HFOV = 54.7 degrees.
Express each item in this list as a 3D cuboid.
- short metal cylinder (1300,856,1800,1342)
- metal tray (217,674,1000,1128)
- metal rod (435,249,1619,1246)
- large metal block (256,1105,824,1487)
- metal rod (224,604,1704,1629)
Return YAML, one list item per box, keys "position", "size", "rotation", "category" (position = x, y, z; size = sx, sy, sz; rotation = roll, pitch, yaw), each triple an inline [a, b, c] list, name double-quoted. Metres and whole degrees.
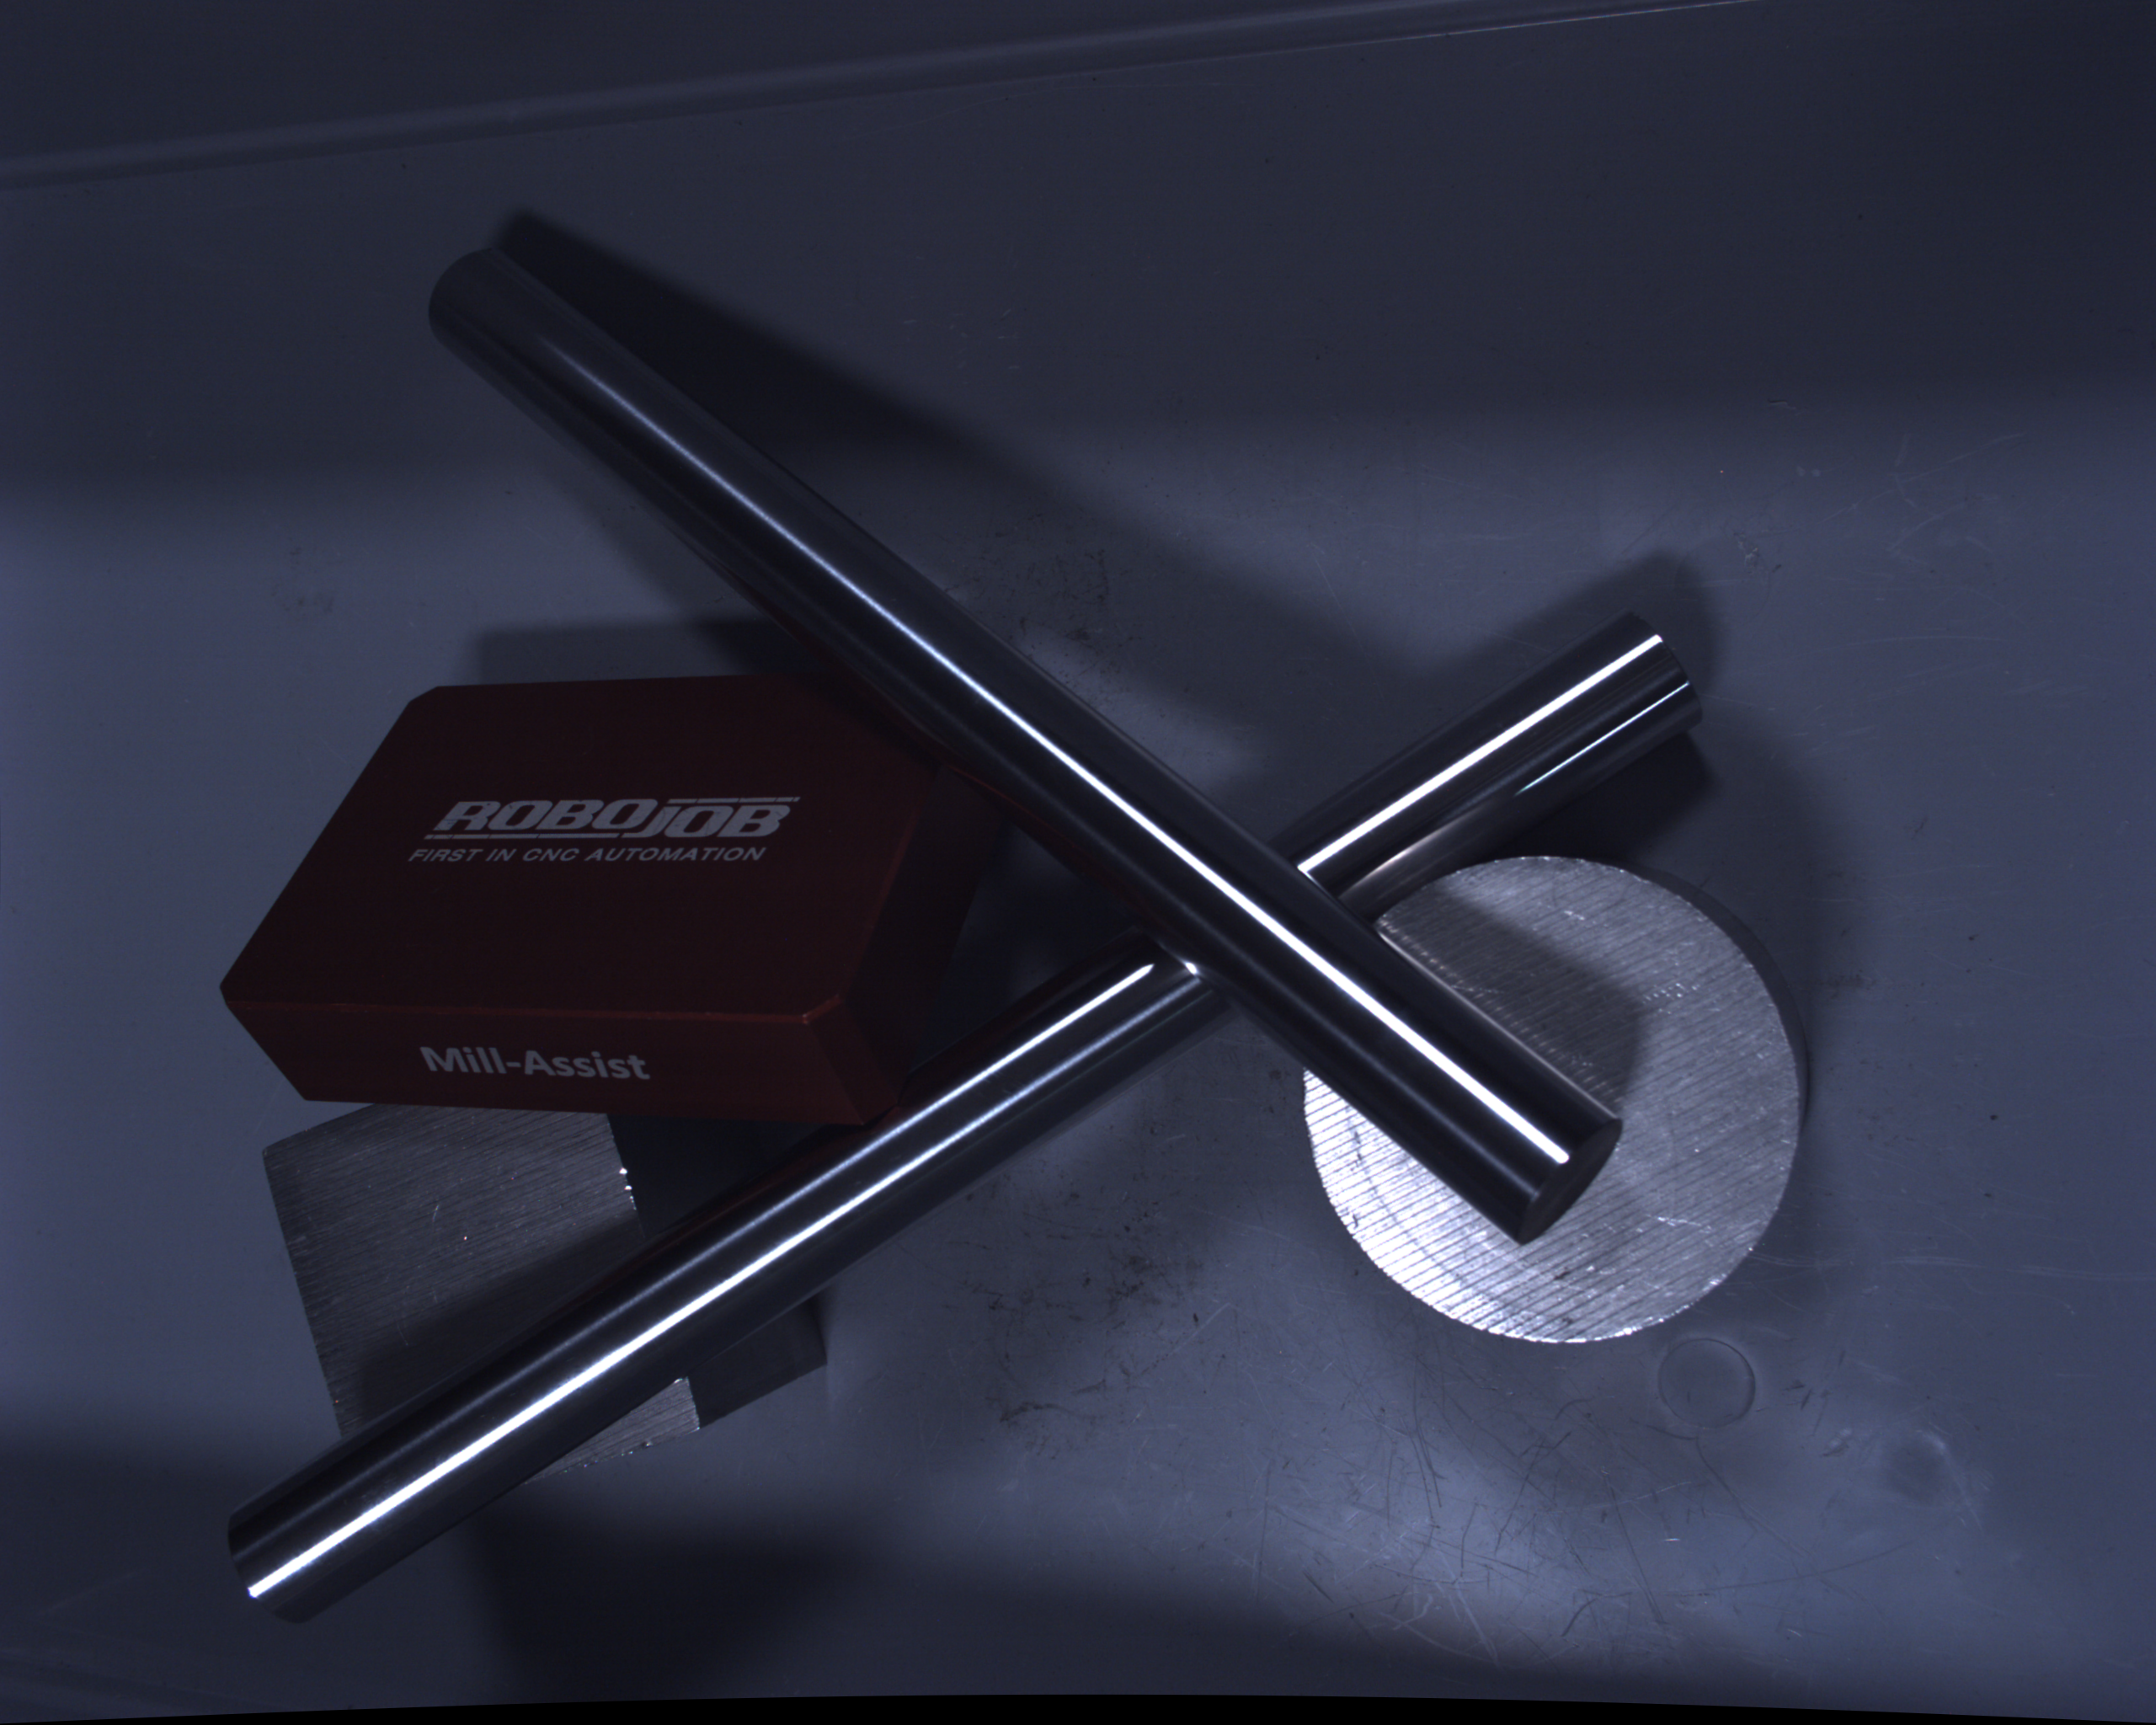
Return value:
- position: [0.084, 0.038, 0.365]
  size: [0.080, 0.050, 0.079]
  rotation: [0, 90, 19]
  category: "short metal cylinder"
- position: [-0.088, 0.004, 0.407]
  size: [0.130, 0.030, 0.090]
  rotation: [0, 46, 21]
  category: "metal tray"
- position: [-0.028, -0.037, 0.387]
  size: [0.300, 0.025, 0.025]
  rotation: [40, 103, 28]
  category: "metal rod"
- position: [-0.110, 0.083, 0.430]
  size: [0.080, 0.050, 0.080]
  rotation: [-20, 84, 18]
  category: "large metal block"
- position: [-0.022, 0.047, 0.377]
  size: [0.301, 0.025, 0.025]
  rotation: [-33, 79, 2]
  category: "metal rod"
